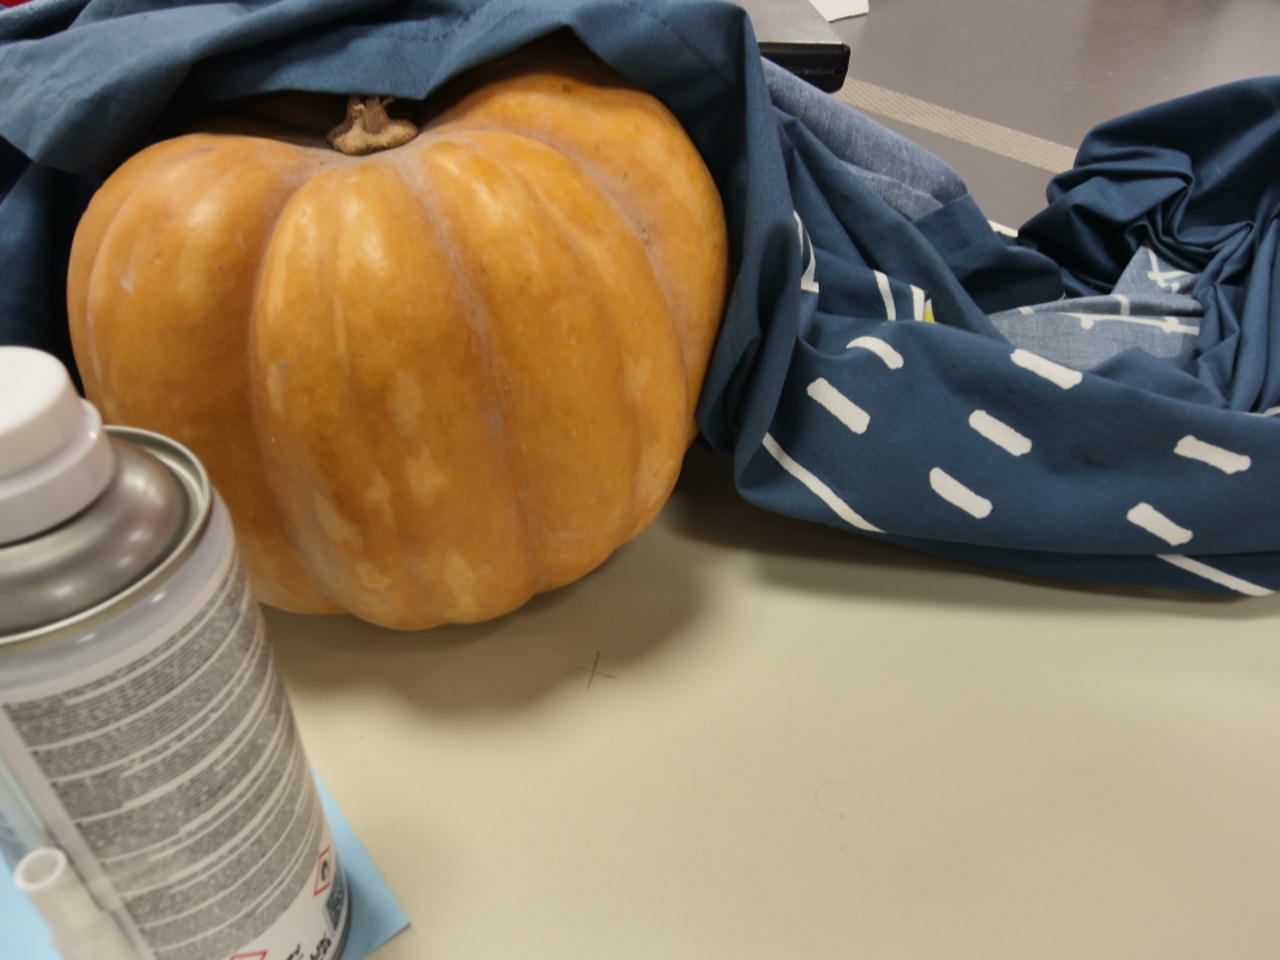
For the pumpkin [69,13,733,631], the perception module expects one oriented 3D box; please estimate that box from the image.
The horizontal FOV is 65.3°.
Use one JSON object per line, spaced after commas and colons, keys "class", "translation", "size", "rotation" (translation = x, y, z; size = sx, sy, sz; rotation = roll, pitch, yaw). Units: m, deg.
{"class": "pumpkin", "translation": [-0.077, -0.056, 0.365], "size": [0.230, 0.194, 0.230], "rotation": [0, 38, 0]}
